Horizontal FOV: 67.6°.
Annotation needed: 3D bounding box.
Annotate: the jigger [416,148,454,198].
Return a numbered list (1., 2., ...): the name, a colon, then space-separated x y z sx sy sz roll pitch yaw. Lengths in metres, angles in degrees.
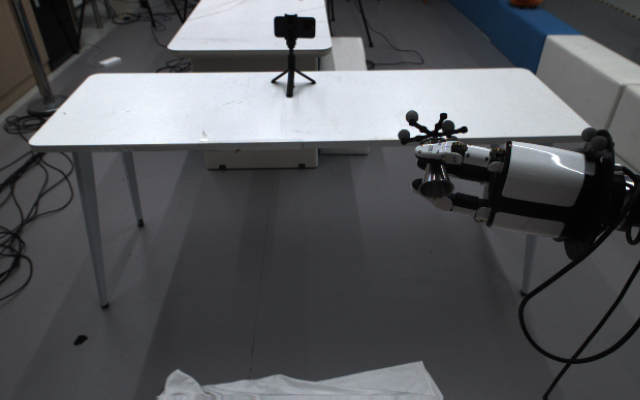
1. jigger: 0.147 -0.044 0.623 0.043 0.043 0.071 4 61 2
